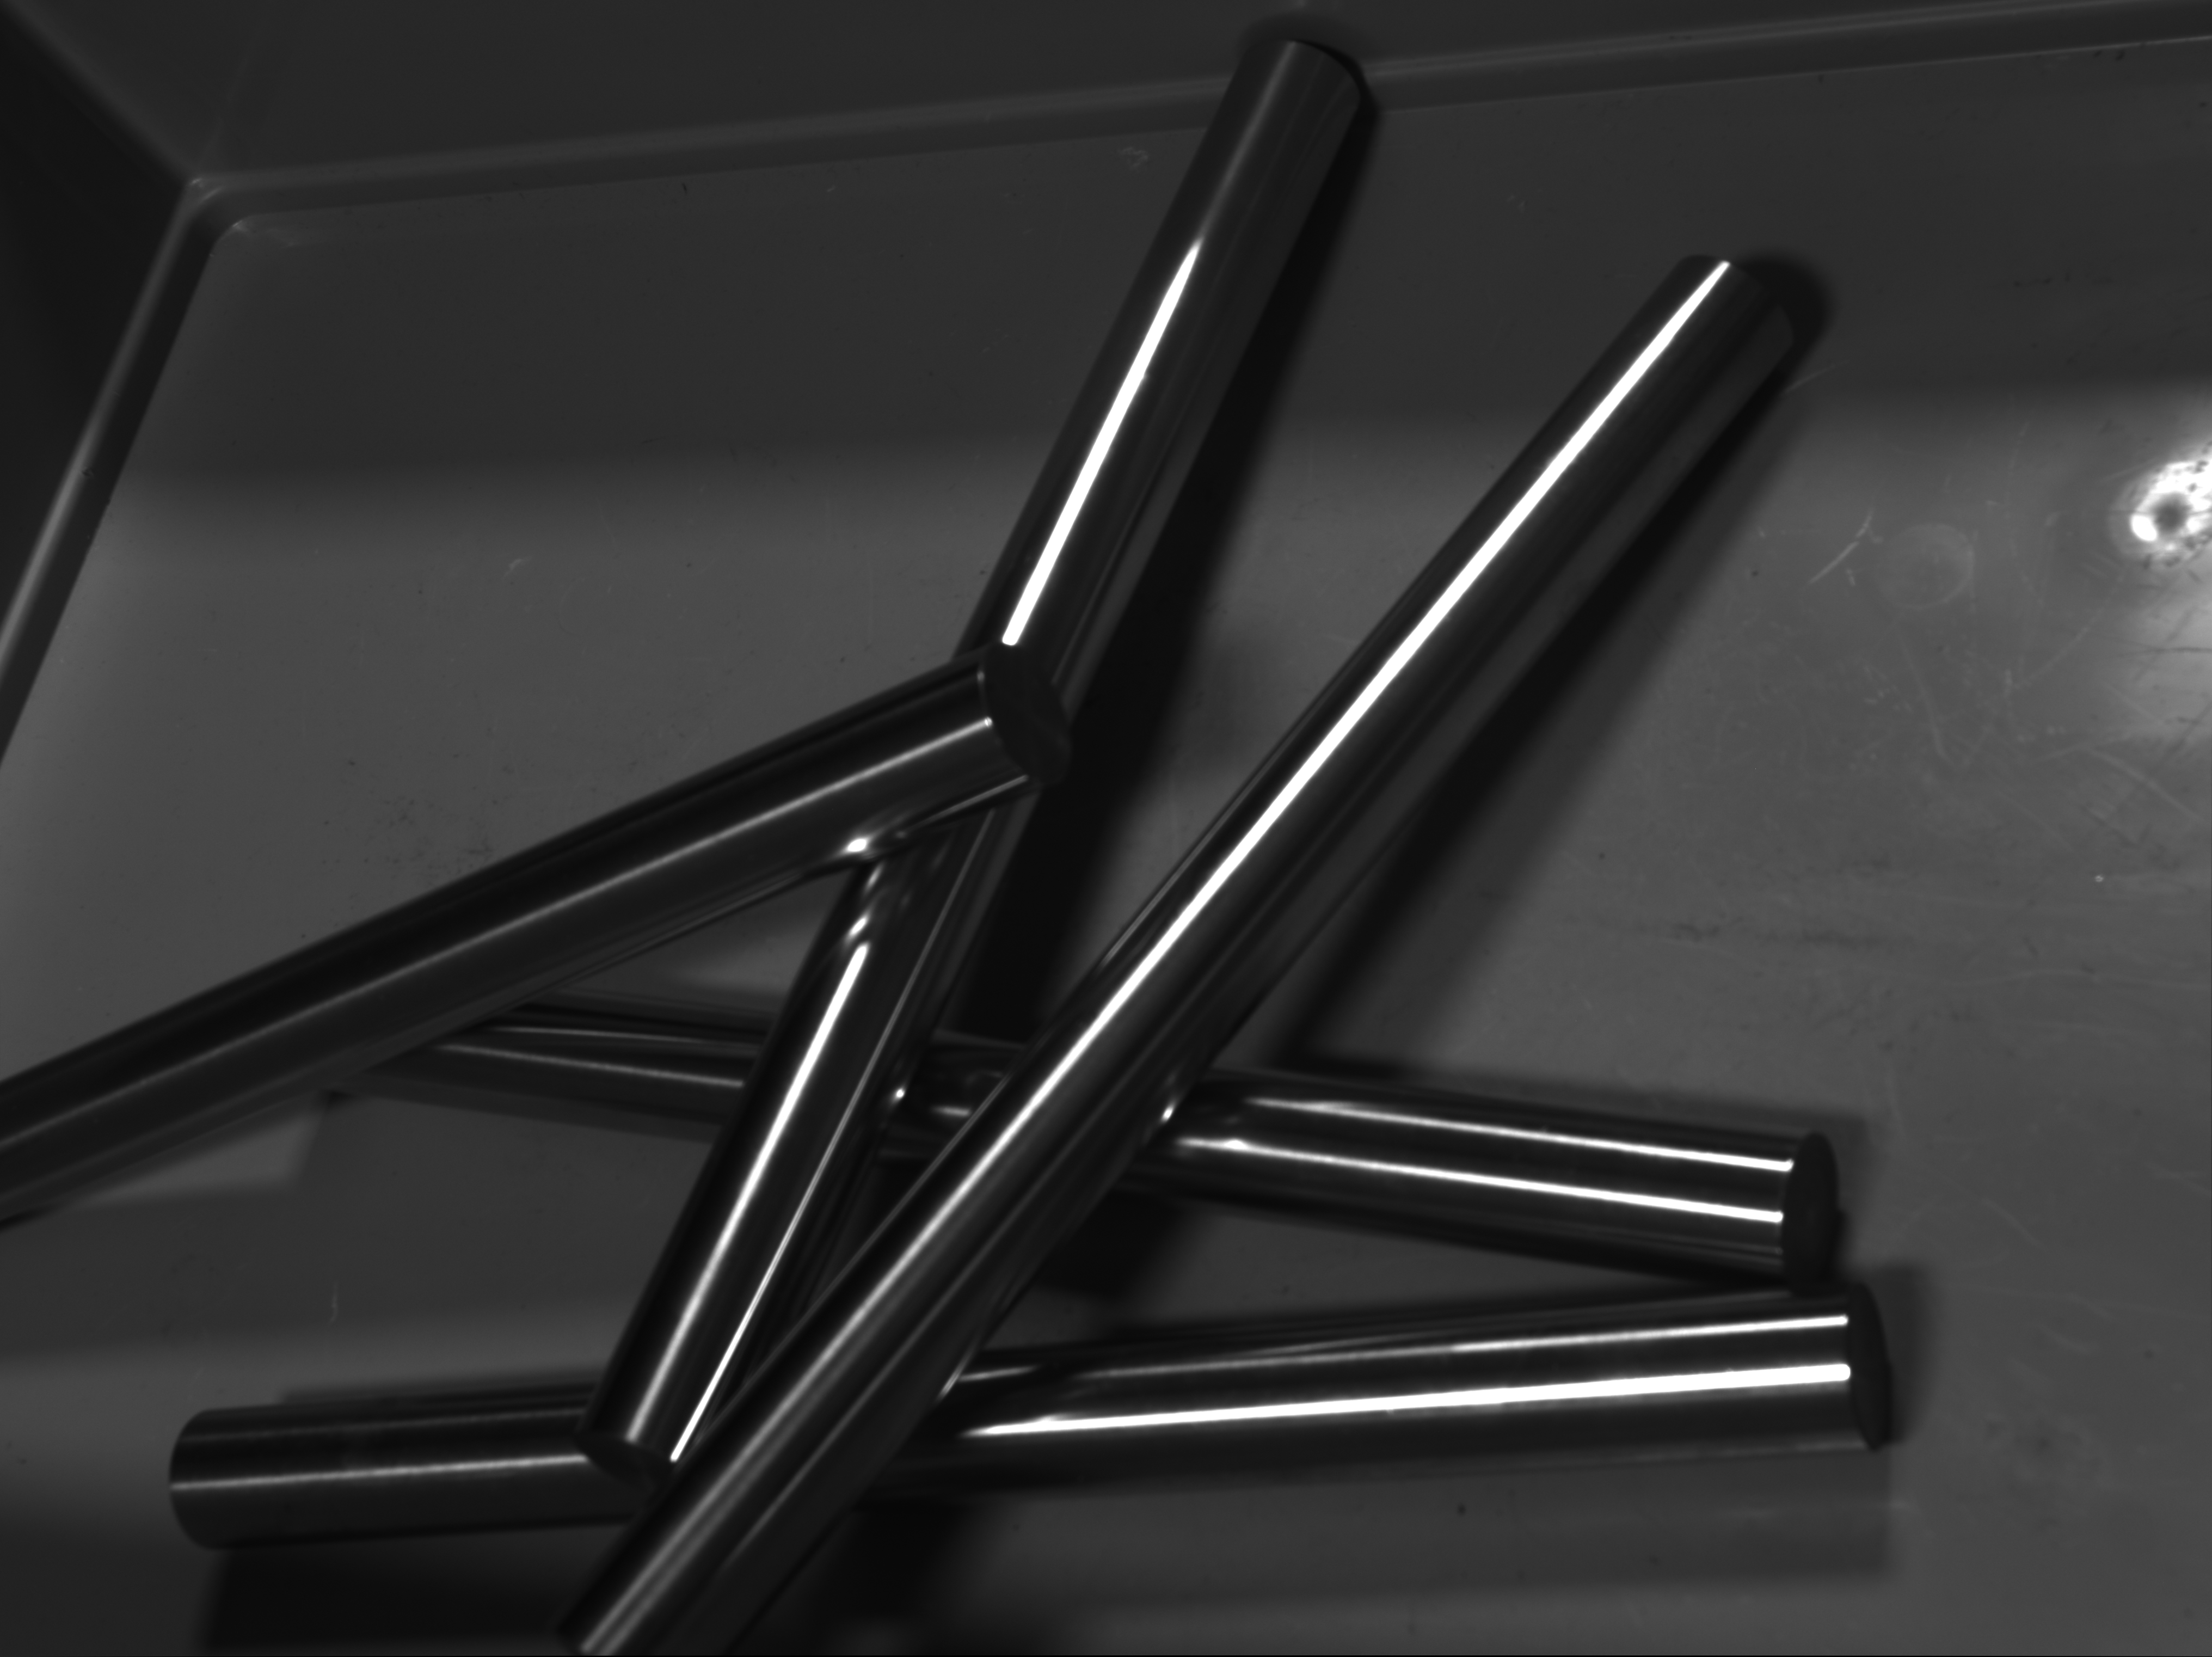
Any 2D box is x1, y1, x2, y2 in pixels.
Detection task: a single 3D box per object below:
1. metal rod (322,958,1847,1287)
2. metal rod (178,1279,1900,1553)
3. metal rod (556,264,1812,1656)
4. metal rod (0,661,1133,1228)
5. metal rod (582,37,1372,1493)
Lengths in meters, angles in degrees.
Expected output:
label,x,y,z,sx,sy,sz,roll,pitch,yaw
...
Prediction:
label,x,y,z,sx,sy,sz,roll,pitch,yaw
metal rod,-0.022,0.048,0.625,0.299,0.025,0.025,5,64,30
metal rod,-0.023,0.098,0.595,0.299,0.025,0.025,-8,58,24
metal rod,0.020,0.020,0.594,0.025,0.025,0.300,27,68,37
metal rod,-0.131,0.033,0.661,0.299,0.025,0.025,-21,53,23
metal rod,-0.016,-0.022,0.643,0.025,0.025,0.300,7,58,31
